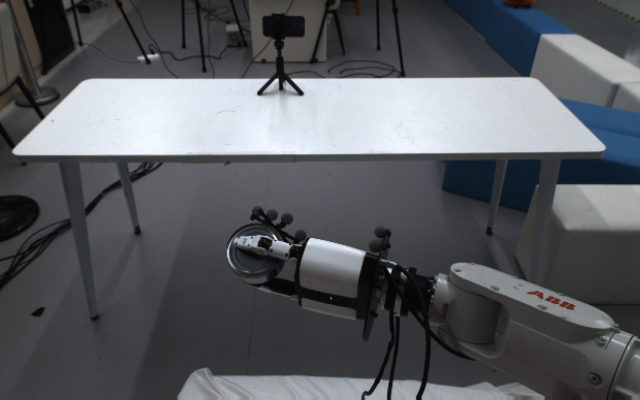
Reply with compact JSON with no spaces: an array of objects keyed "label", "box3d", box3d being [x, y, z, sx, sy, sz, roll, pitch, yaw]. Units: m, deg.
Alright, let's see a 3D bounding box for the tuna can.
[{"label":"tuna can","box3d":[-0.093,0.079,0.712,0.085,0.034,0.085,-2,60,3]}]
